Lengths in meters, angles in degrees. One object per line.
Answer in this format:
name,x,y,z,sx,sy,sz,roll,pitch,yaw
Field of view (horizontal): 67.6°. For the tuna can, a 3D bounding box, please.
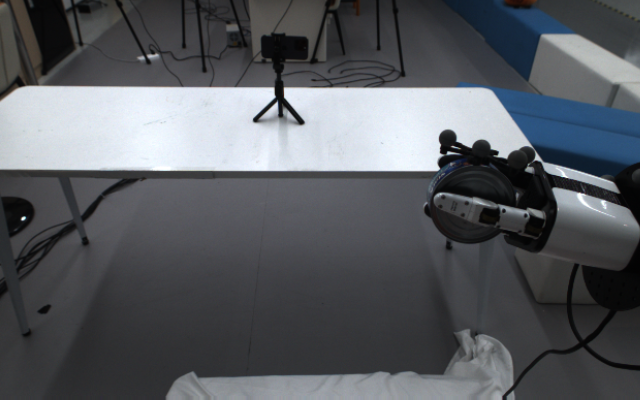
tuna can,0.158,-0.003,0.507,0.085,0.085,0.034,4,19,3
